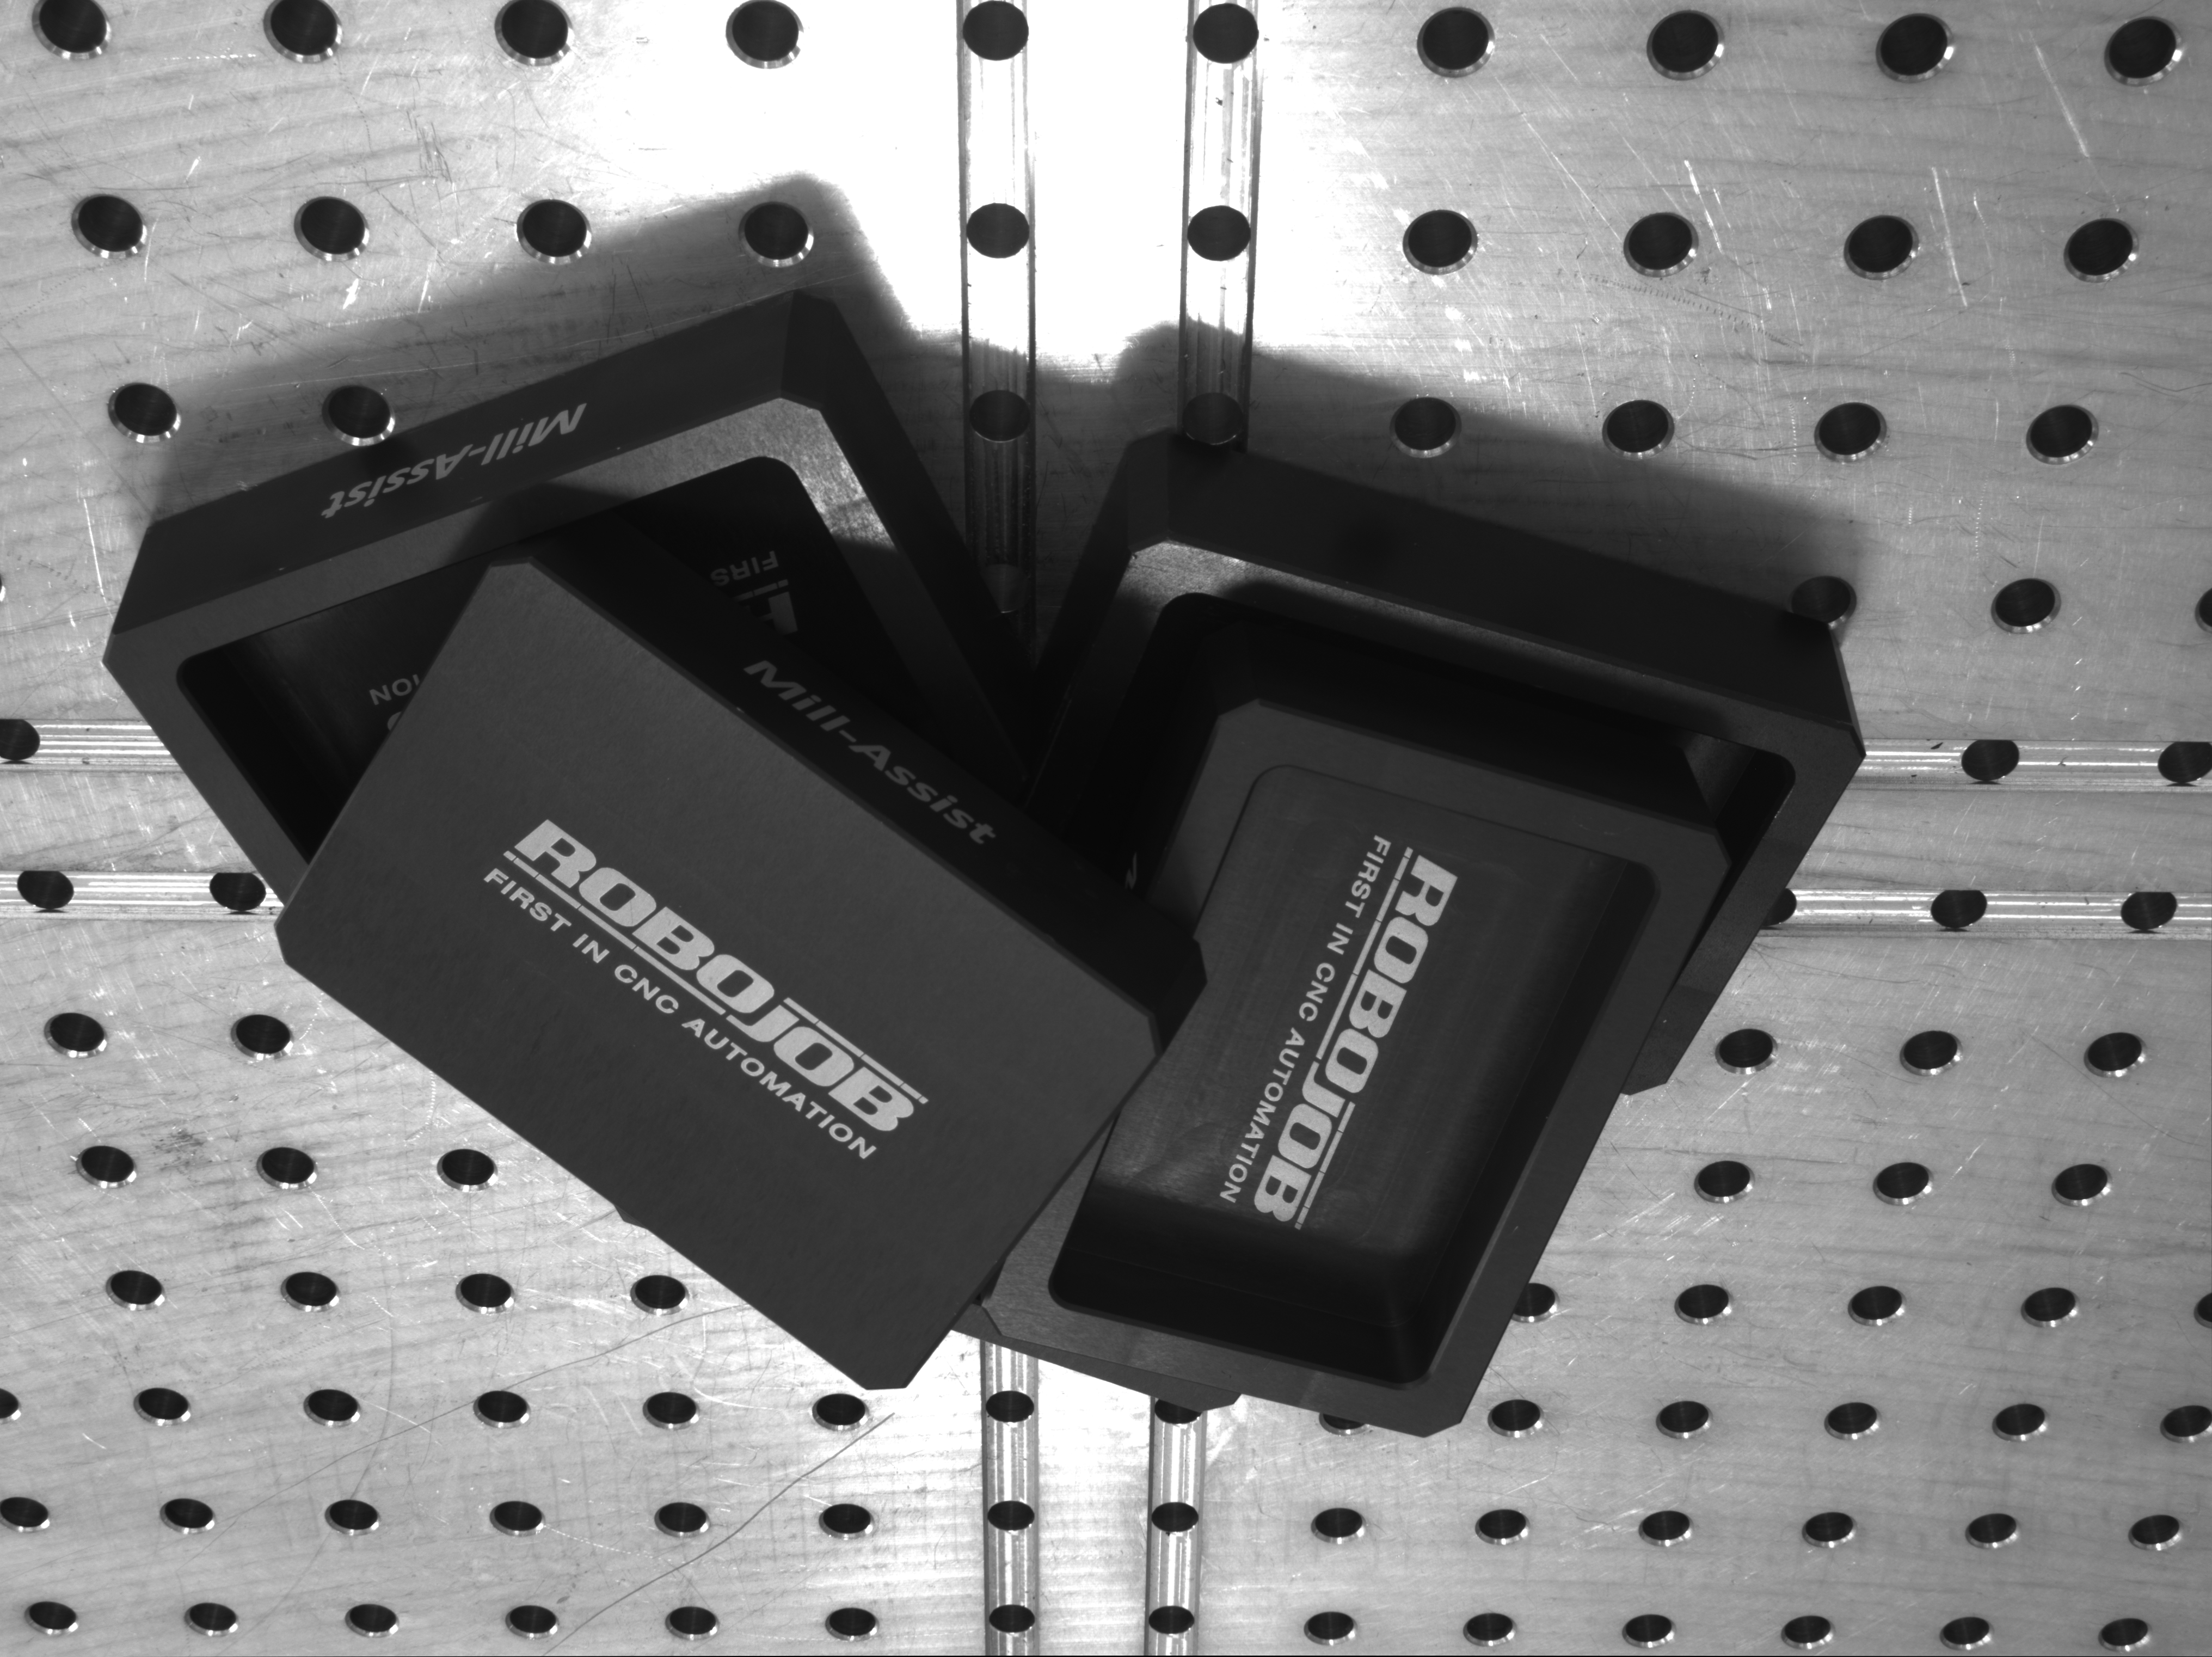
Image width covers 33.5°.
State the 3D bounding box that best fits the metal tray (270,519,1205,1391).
[{"bbox_3d":[-0.061,0.021,0.604,0.130,0.030,0.090,36,116,0],"label":"metal tray"}]

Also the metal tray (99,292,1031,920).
[{"bbox_3d":[-0.089,-0.027,0.616,0.130,0.030,0.090,-17,128,15],"label":"metal tray"}]

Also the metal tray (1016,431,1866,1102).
[{"bbox_3d":[0.052,-0.008,0.632,0.130,0.030,0.090,15,128,-11],"label":"metal tray"}]

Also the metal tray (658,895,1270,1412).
[{"bbox_3d":[-0.016,0.054,0.685,0.130,0.030,0.090,21,127,-16],"label":"metal tray"}]

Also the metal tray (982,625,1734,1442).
[{"bbox_3d":[0.040,0.038,0.631,0.090,0.030,0.130,16,117,-12],"label":"metal tray"}]
